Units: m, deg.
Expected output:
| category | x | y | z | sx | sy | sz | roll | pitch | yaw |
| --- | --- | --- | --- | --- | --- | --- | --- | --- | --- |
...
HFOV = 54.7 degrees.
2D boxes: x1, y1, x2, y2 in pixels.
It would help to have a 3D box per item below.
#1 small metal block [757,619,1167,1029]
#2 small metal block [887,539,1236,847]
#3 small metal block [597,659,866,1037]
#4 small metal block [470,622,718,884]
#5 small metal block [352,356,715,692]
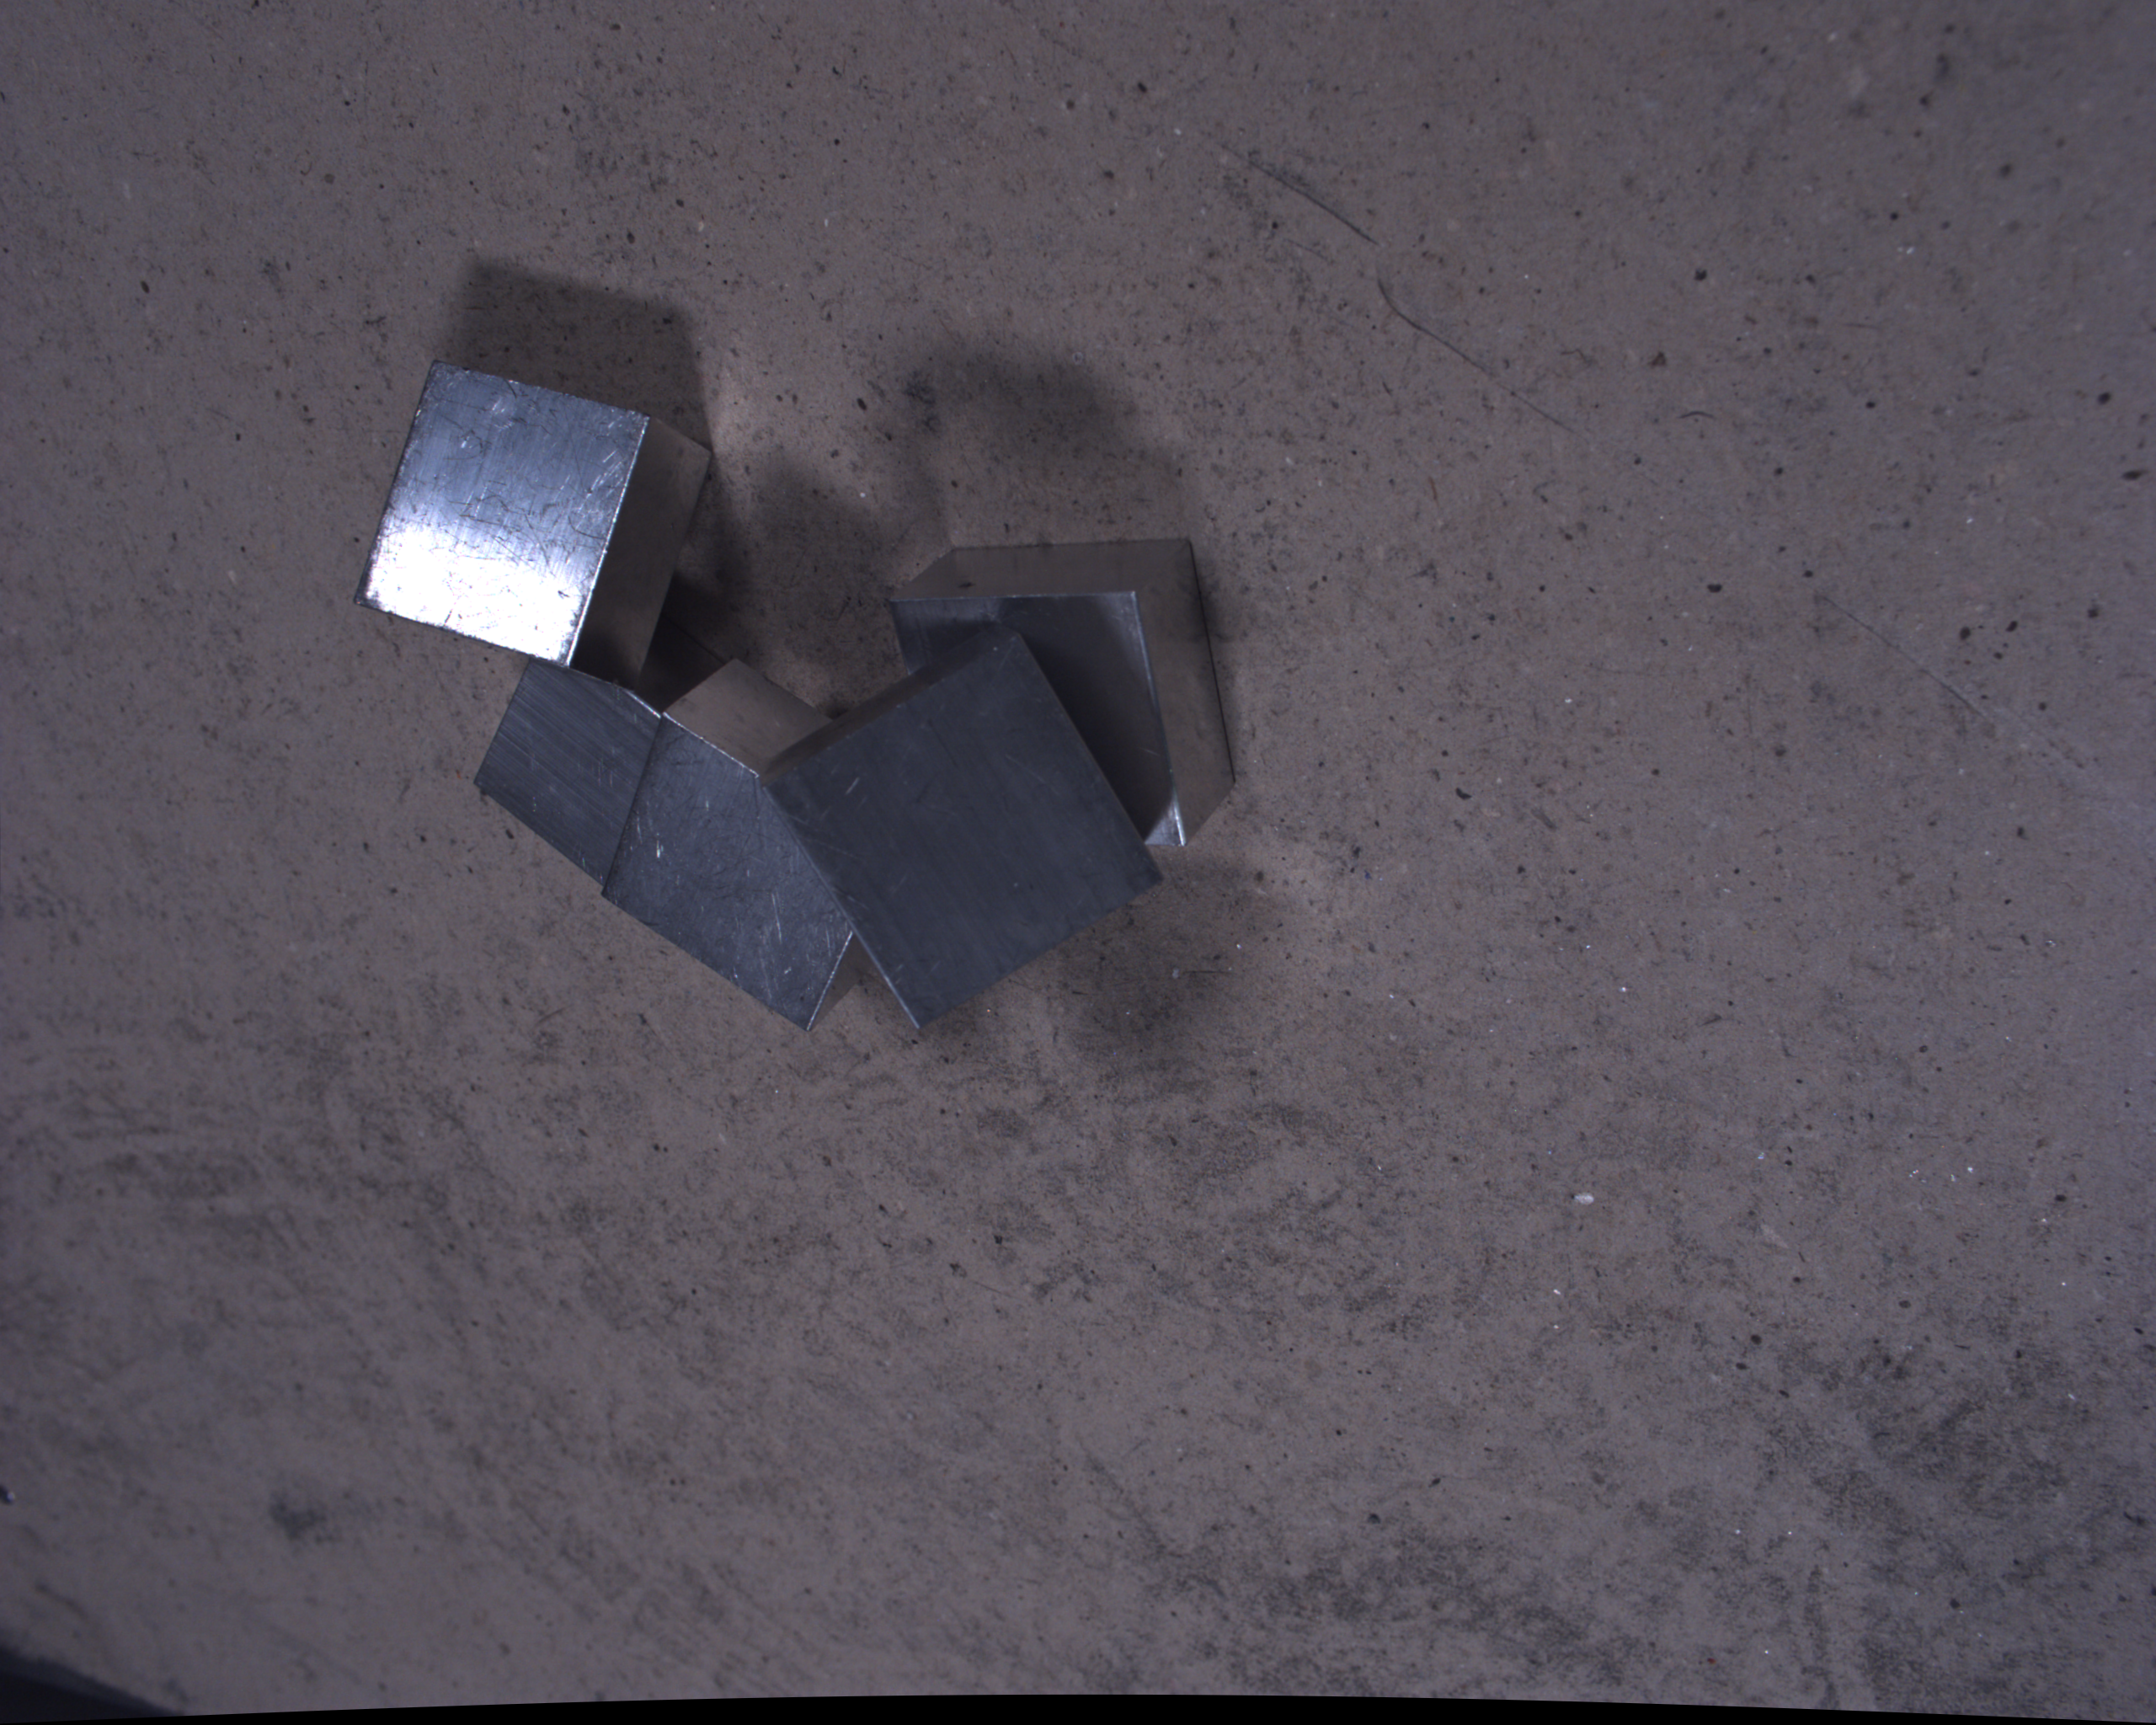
| category | x | y | z | sx | sy | sz | roll | pitch | yaw |
| --- | --- | --- | --- | --- | --- | --- | --- | --- | --- |
| small metal block | -0.021 | -0.007 | 0.365 | 0.050 | 0.025 | 0.050 | -31 | 105 | -3 |
| small metal block | -0.002 | -0.031 | 0.389 | 0.050 | 0.025 | 0.050 | 2 | 120 | 27 |
| small metal block | -0.059 | -0.003 | 0.403 | 0.050 | 0.025 | 0.050 | 33 | 129 | 6 |
| small metal block | -0.094 | -0.022 | 0.442 | 0.050 | 0.025 | 0.050 | 39 | 129 | 1 |
| small metal block | -0.106 | -0.066 | 0.406 | 0.050 | 0.025 | 0.050 | 17 | 89 | 17 |
